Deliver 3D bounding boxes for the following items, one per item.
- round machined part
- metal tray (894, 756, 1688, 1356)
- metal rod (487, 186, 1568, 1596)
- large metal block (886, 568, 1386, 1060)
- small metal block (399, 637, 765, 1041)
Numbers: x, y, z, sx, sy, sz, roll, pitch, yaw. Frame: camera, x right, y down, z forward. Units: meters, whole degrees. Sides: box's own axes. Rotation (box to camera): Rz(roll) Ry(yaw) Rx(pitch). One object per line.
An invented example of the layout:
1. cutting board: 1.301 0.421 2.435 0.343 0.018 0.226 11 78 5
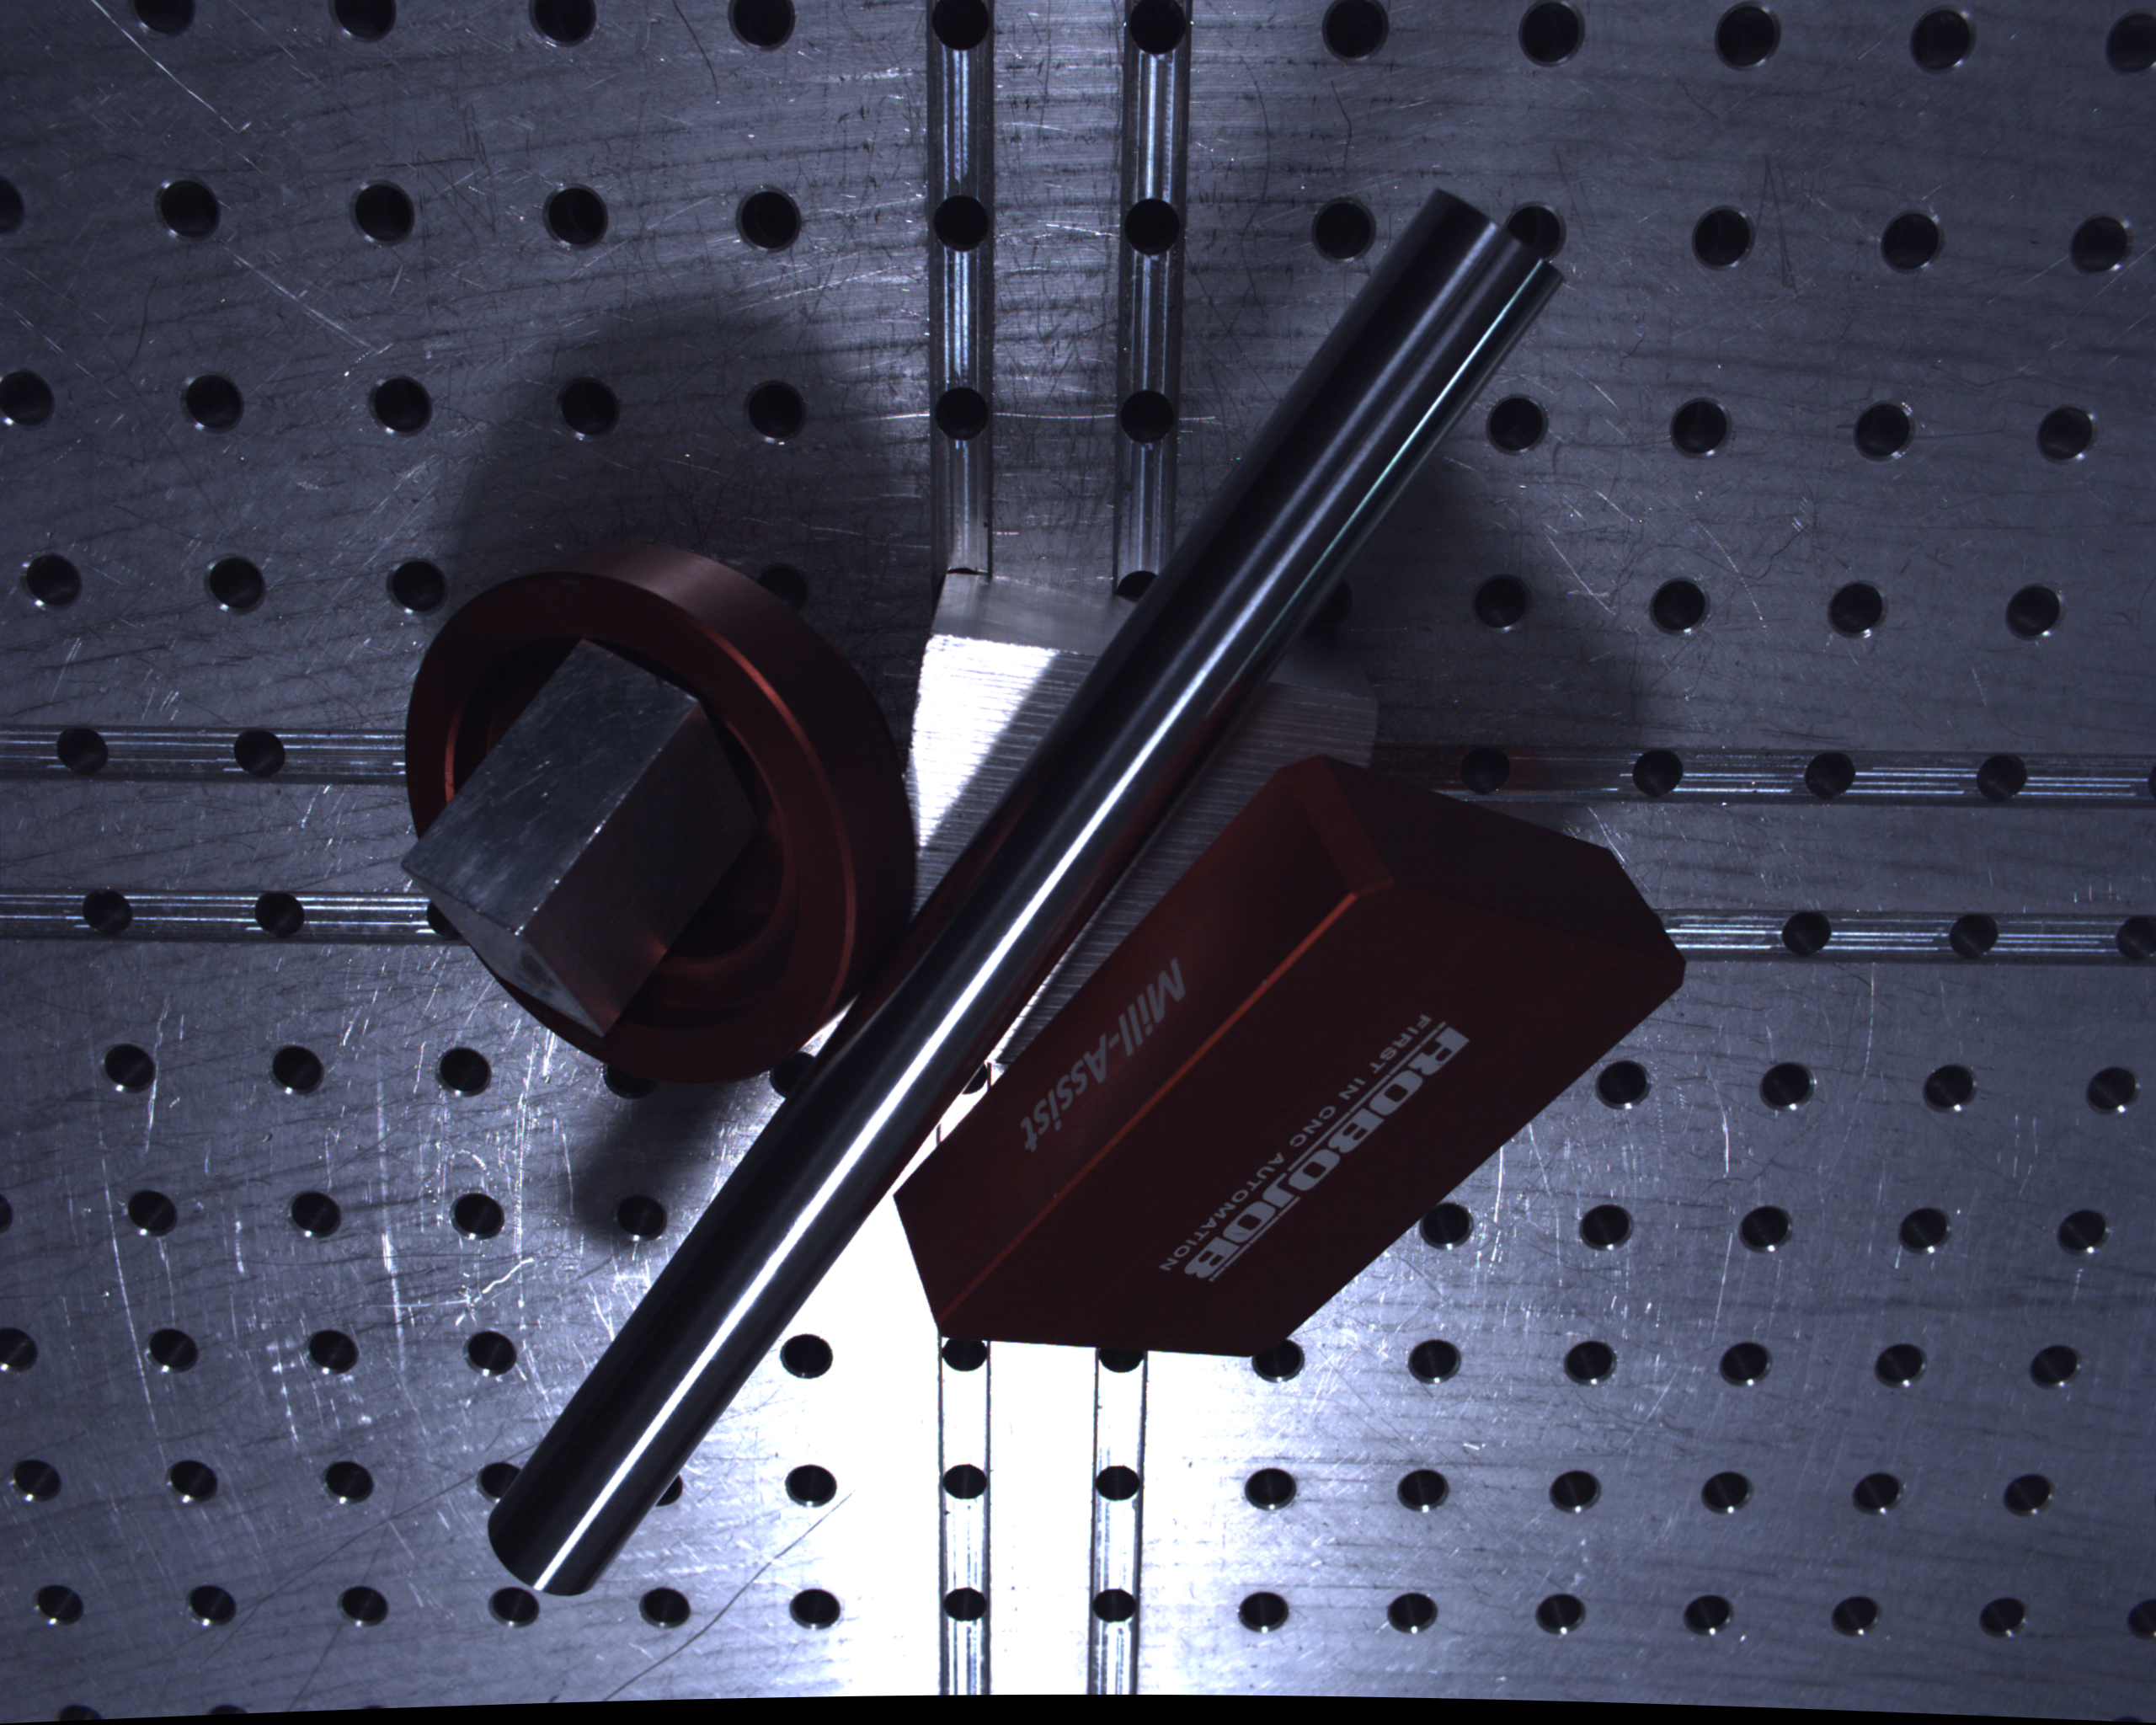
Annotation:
1. round machined part: -0.072 -0.011 0.385 0.098 0.042 0.097 10 115 23
2. metal tray: 0.038 0.043 0.391 0.091 0.030 0.129 15 128 -39
3. metal rod: -0.019 0.018 0.366 0.025 0.025 0.299 33 106 -12
4. large metal block: 0.007 -0.006 0.397 0.081 0.050 0.079 8 110 -4
5. small metal block: -0.085 -0.003 0.368 0.025 0.050 0.050 29 70 16
